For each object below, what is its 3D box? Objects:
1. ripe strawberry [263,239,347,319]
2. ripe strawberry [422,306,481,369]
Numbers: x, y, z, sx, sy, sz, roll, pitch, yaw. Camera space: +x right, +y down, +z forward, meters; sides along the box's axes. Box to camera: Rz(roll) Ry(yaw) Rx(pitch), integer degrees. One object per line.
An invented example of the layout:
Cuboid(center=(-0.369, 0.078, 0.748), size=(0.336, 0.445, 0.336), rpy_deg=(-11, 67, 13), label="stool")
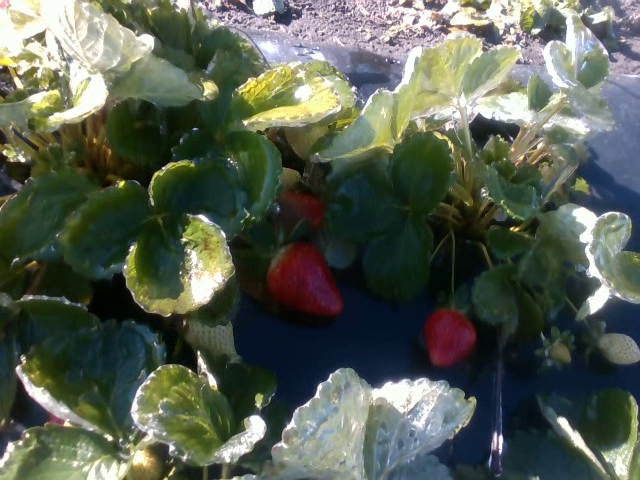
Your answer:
Cuboid(center=(-0.004, 0.027, 0.371), size=(0.044, 0.056, 0.040), rpy_deg=(-45, 6, -19), label="ripe strawberry")
Cuboid(center=(0.082, 0.064, 0.378), size=(0.039, 0.047, 0.040), rpy_deg=(37, -29, -9), label="ripe strawberry")
